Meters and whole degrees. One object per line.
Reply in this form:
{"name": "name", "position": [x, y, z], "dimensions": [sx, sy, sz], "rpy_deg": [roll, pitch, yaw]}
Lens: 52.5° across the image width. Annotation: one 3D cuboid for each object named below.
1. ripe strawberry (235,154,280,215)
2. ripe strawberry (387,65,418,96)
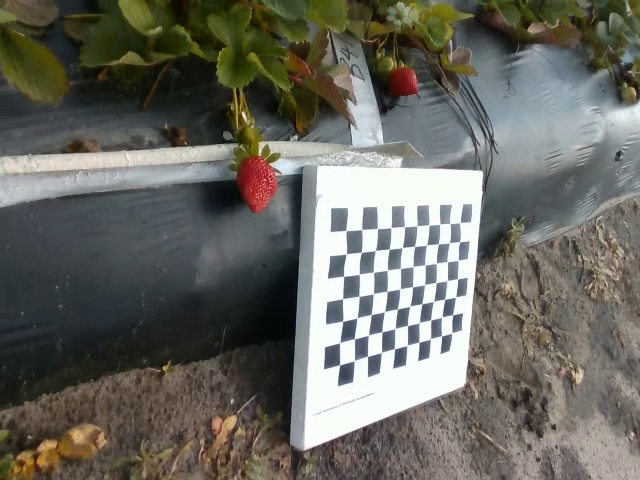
{"name": "ripe strawberry", "position": [-0.049, -0.039, 0.491], "dimensions": [0.030, 0.053, 0.048], "rpy_deg": [-14, -43, 28]}
{"name": "ripe strawberry", "position": [0.092, -0.168, 0.677], "dimensions": [0.037, 0.031, 0.048], "rpy_deg": [15, 33, -46]}
